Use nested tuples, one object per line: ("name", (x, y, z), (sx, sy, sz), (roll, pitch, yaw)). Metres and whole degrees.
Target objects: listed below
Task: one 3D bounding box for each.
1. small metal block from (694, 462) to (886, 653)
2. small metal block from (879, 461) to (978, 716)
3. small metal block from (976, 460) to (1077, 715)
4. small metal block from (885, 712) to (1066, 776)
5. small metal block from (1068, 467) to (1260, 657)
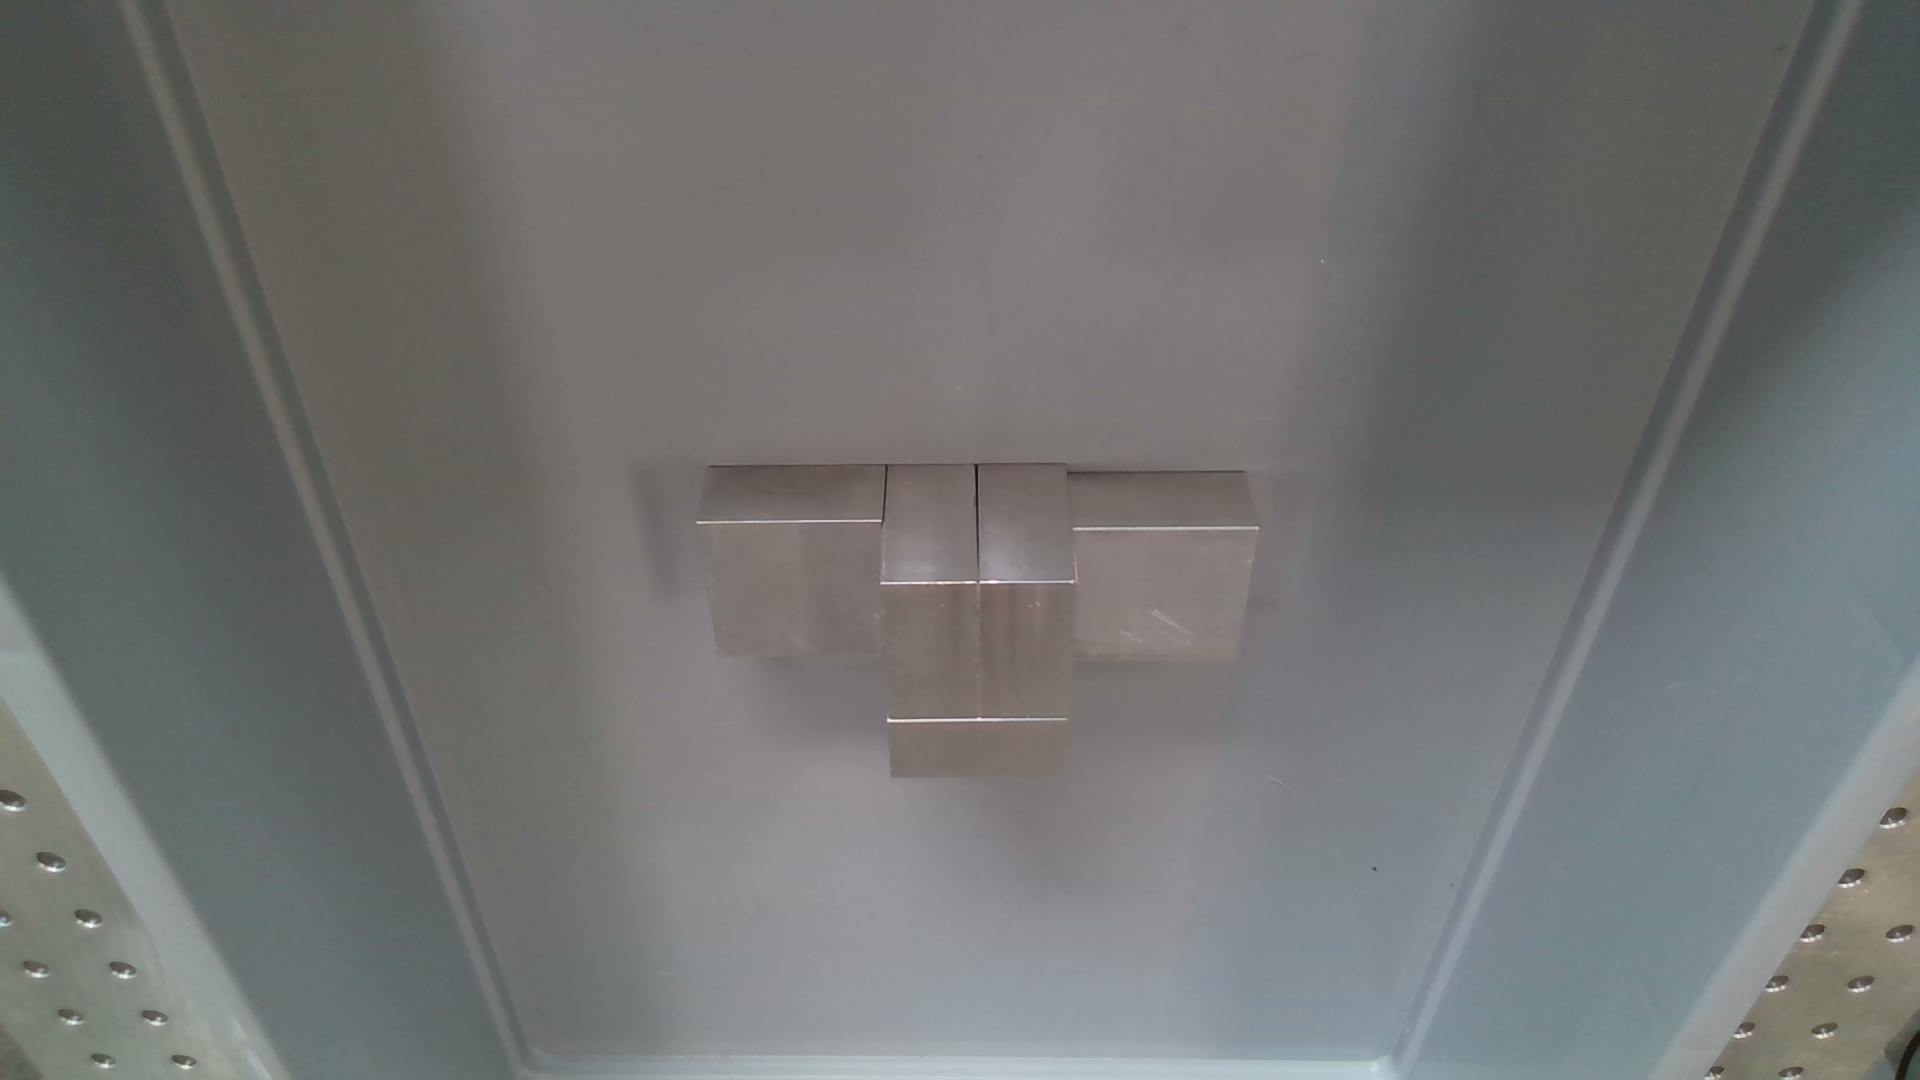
("small metal block", (-0.046, 0.005, 0.392), (0.050, 0.025, 0.050), (0, 130, 0))
("small metal block", (-0.008, 0.013, 0.382), (0.025, 0.050, 0.050), (0, 130, 0))
("small metal block", (0.017, 0.013, 0.382), (0.025, 0.050, 0.050), (0, 130, 0))
("small metal block", (0.004, 0.042, 0.407), (0.050, 0.050, 0.025), (0, 130, 0))
("small metal block", (0.055, 0.007, 0.393), (0.050, 0.025, 0.050), (0, 130, 0))
